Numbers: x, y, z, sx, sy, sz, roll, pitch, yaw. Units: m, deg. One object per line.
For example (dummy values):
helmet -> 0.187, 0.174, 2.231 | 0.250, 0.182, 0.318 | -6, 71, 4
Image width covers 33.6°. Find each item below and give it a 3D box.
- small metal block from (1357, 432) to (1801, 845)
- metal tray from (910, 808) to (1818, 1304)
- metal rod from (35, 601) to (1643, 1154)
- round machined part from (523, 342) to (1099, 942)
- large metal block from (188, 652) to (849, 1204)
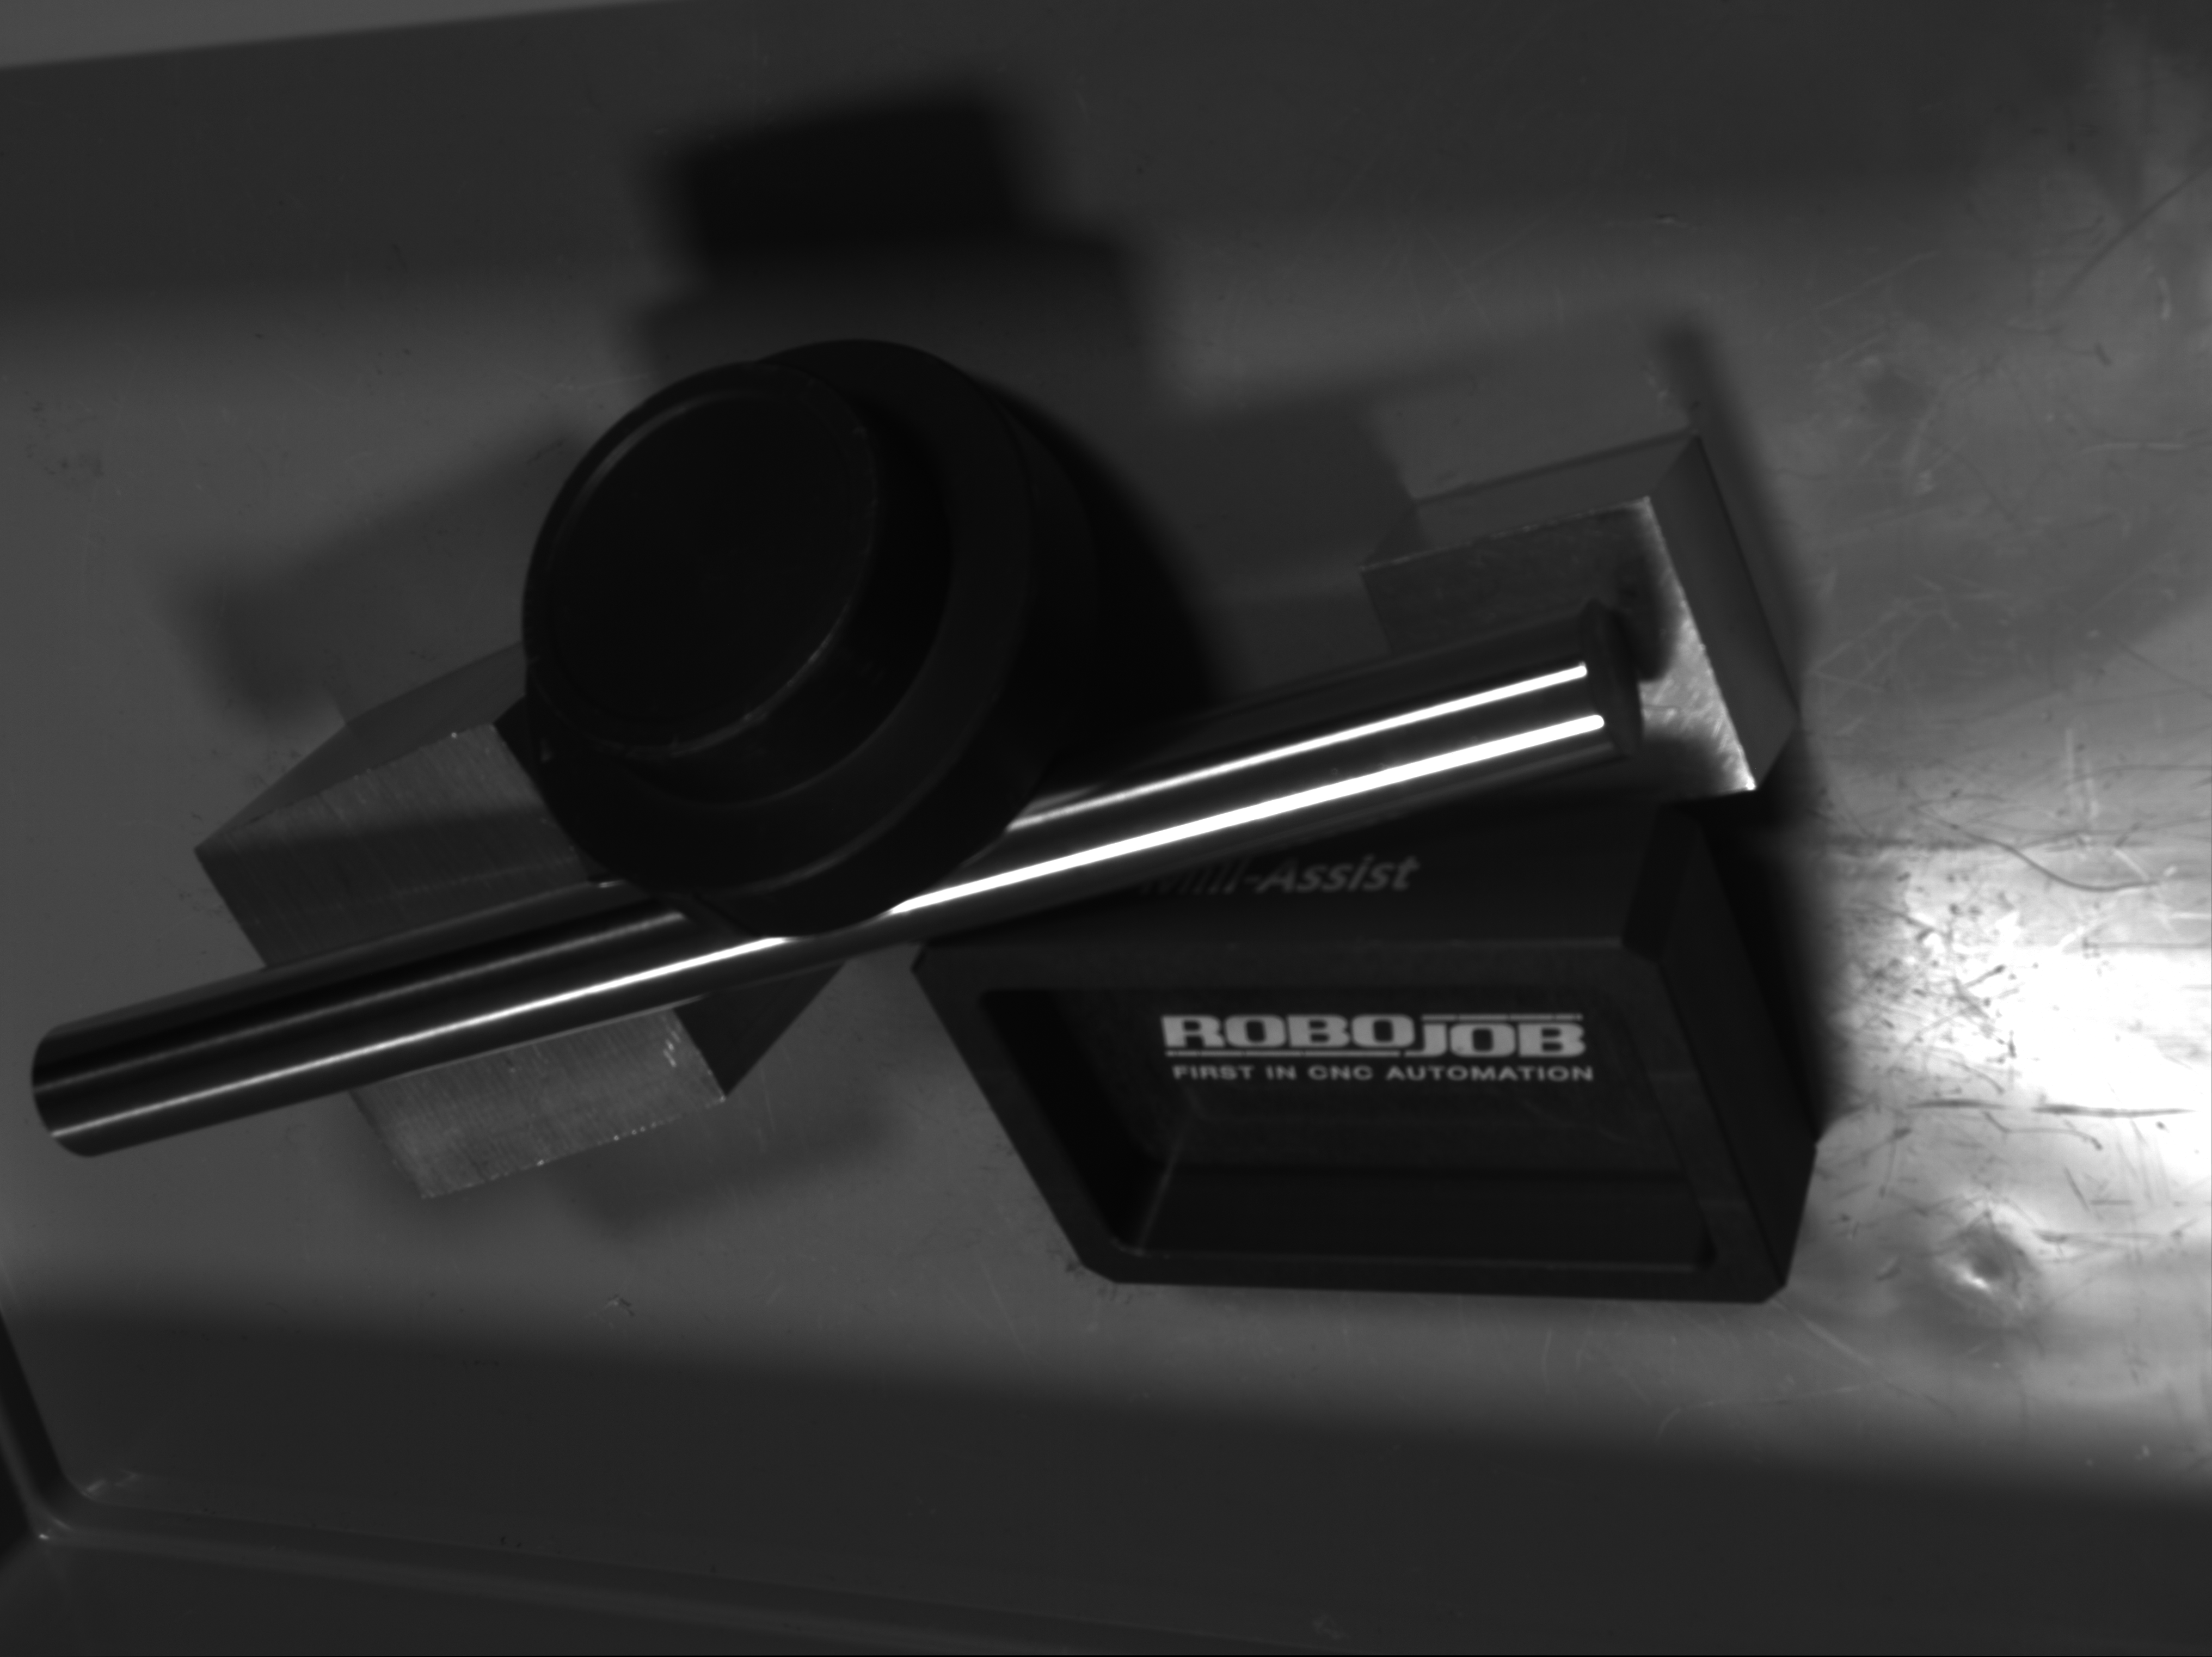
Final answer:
small metal block -> 0.075, -0.029, 0.574 | 0.050, 0.025, 0.050 | -12, 112, 32
metal tray -> 0.044, 0.039, 0.610 | 0.130, 0.030, 0.090 | -2, 137, 27
metal rod -> -0.056, 0.013, 0.609 | 0.299, 0.025, 0.025 | -15, 111, 25
round machined part -> -0.054, -0.035, 0.587 | 0.098, 0.098, 0.042 | -5, 156, 29
large metal block -> -0.107, 0.014, 0.675 | 0.080, 0.050, 0.080 | -19, 108, 34
